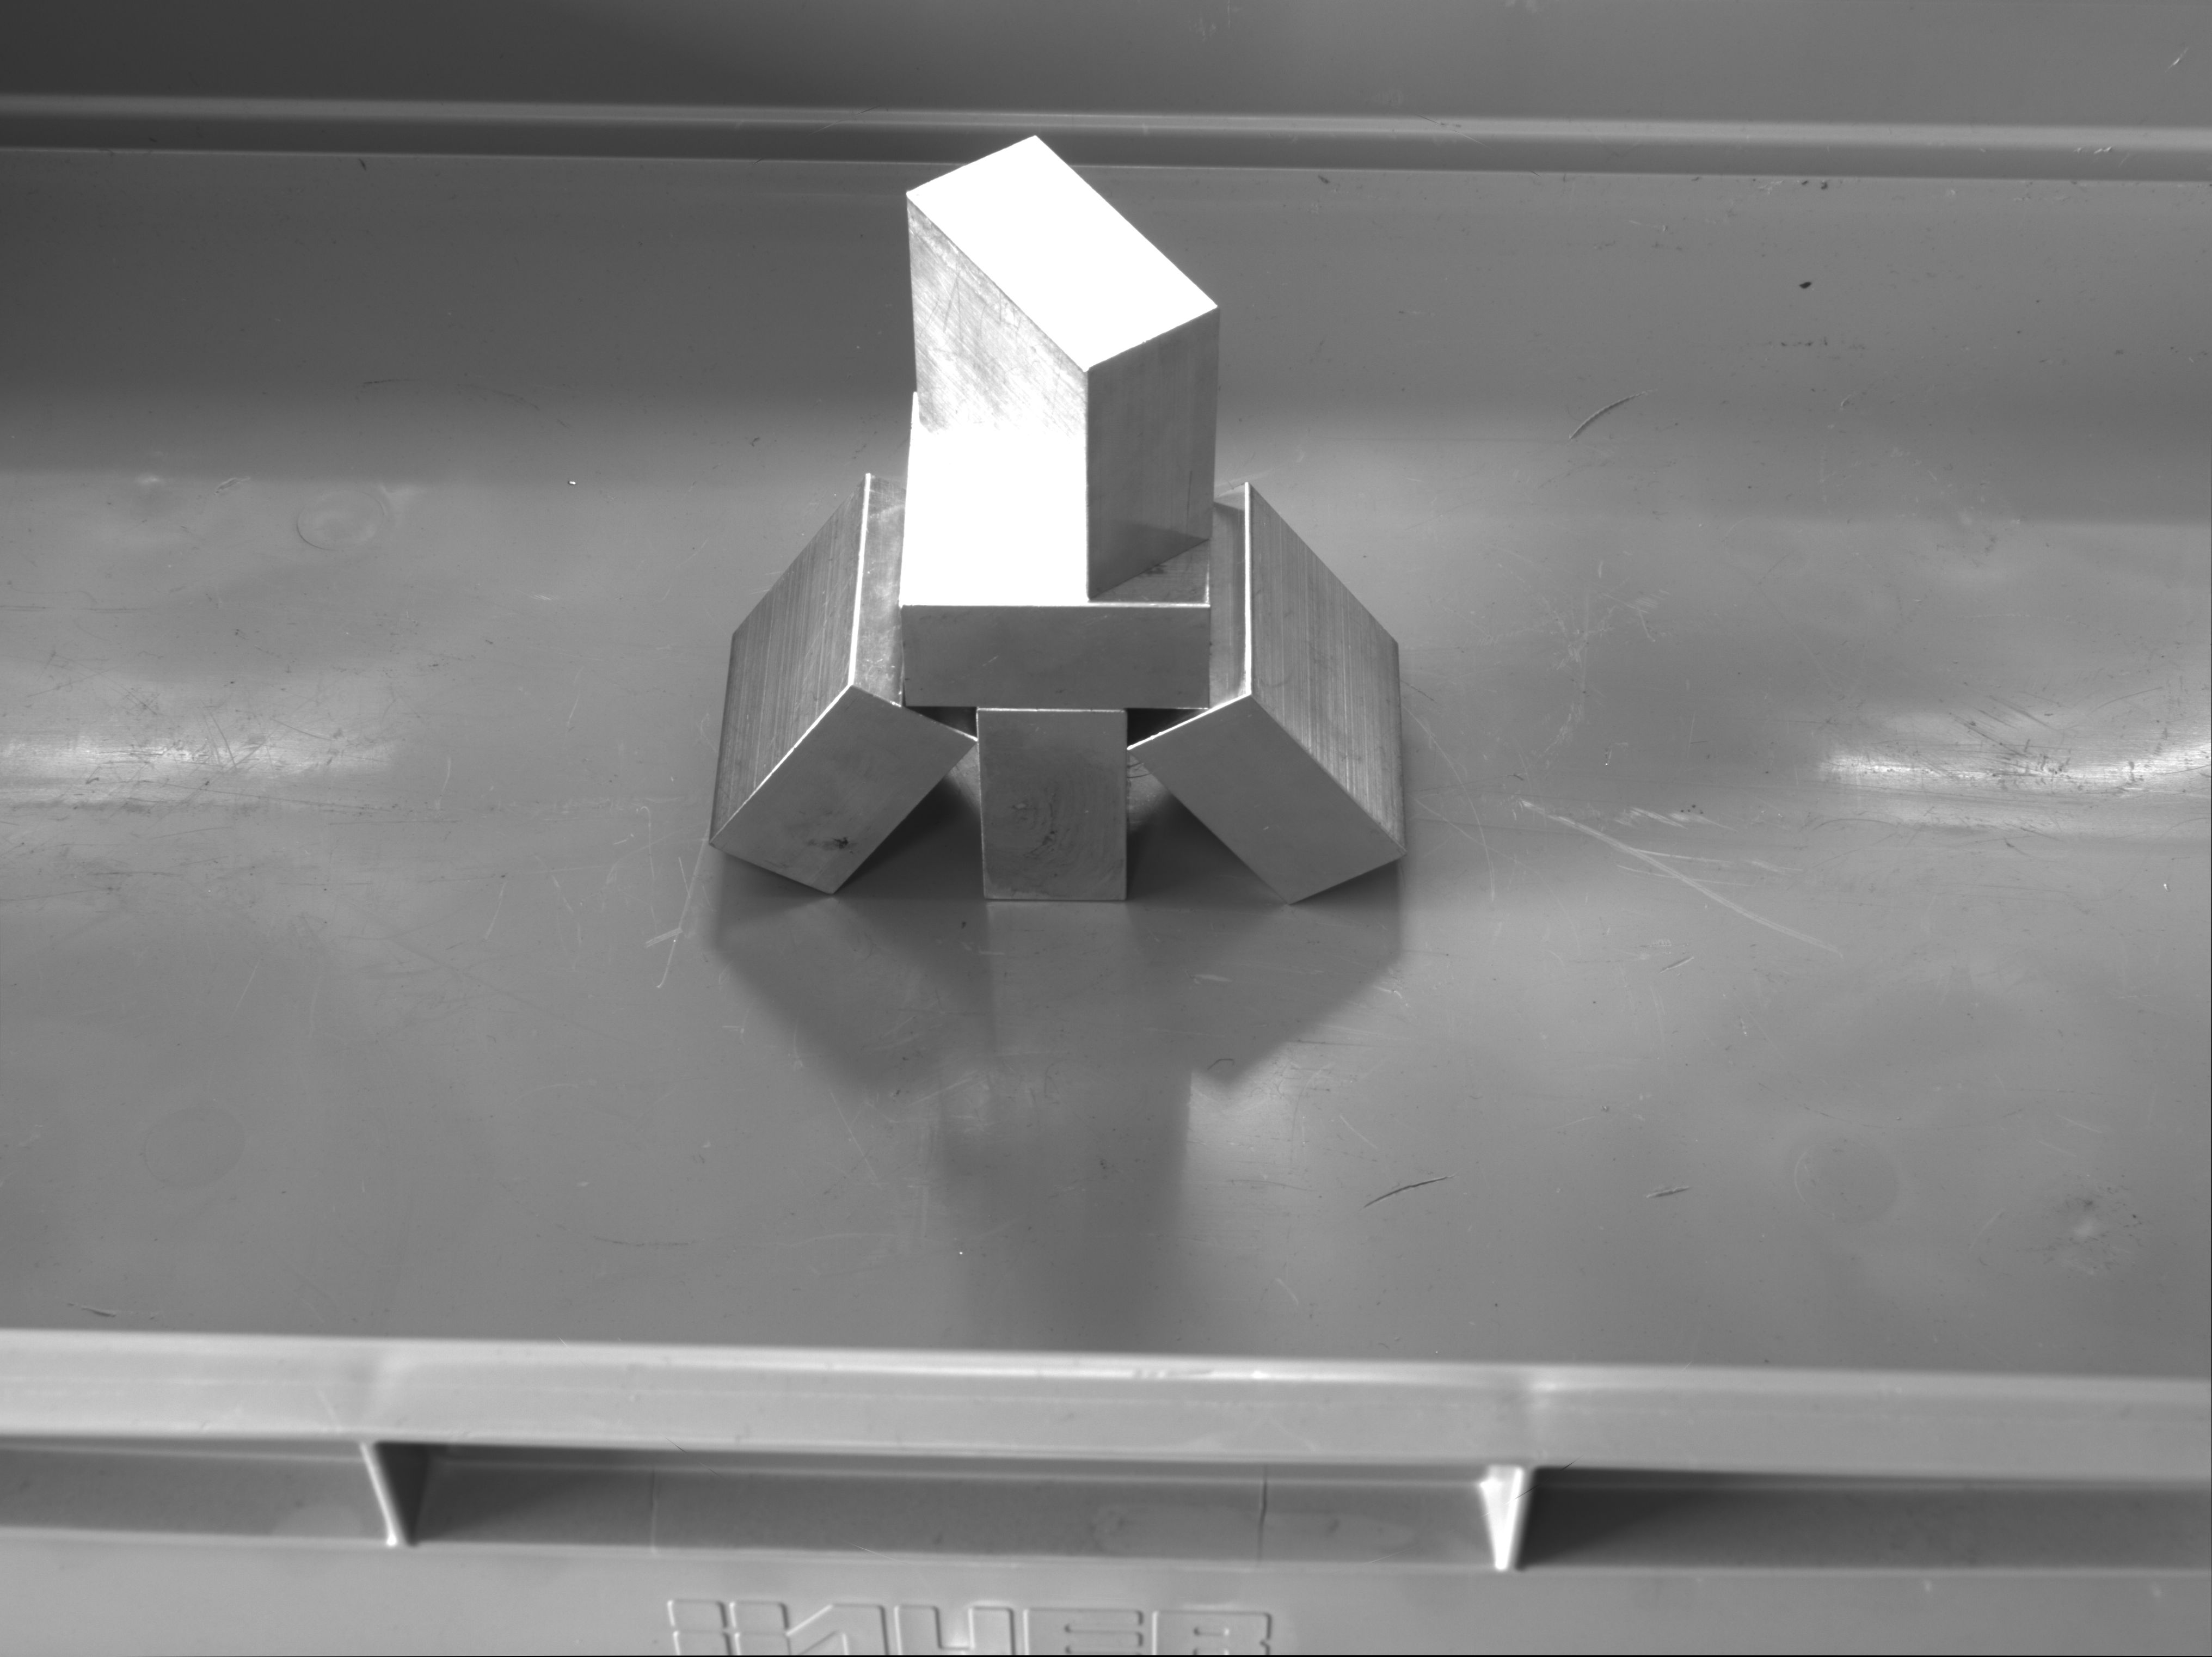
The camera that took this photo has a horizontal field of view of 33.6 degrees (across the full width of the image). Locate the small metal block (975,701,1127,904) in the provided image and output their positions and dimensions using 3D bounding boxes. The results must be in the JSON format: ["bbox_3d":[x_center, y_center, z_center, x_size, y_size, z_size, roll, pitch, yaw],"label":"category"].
[{"bbox_3d":[-0.009,-0.022,0.642,0.025,0.050,0.050,1,49,1],"label":"small metal block"}]

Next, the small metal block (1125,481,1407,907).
[{"bbox_3d":[0.028,-0.023,0.640,0.025,0.050,0.050,-23,44,26],"label":"small metal block"}]

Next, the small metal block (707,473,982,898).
[{"bbox_3d":[-0.045,-0.025,0.641,0.025,0.050,0.050,24,45,-24],"label":"small metal block"}]

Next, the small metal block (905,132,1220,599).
[{"bbox_3d":[-0.007,-0.074,0.587,0.025,0.050,0.050,-28,55,-21],"label":"small metal block"}]

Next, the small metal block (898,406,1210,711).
[{"bbox_3d":[-0.008,-0.047,0.613,0.050,0.025,0.050,1,49,1],"label":"small metal block"}]
